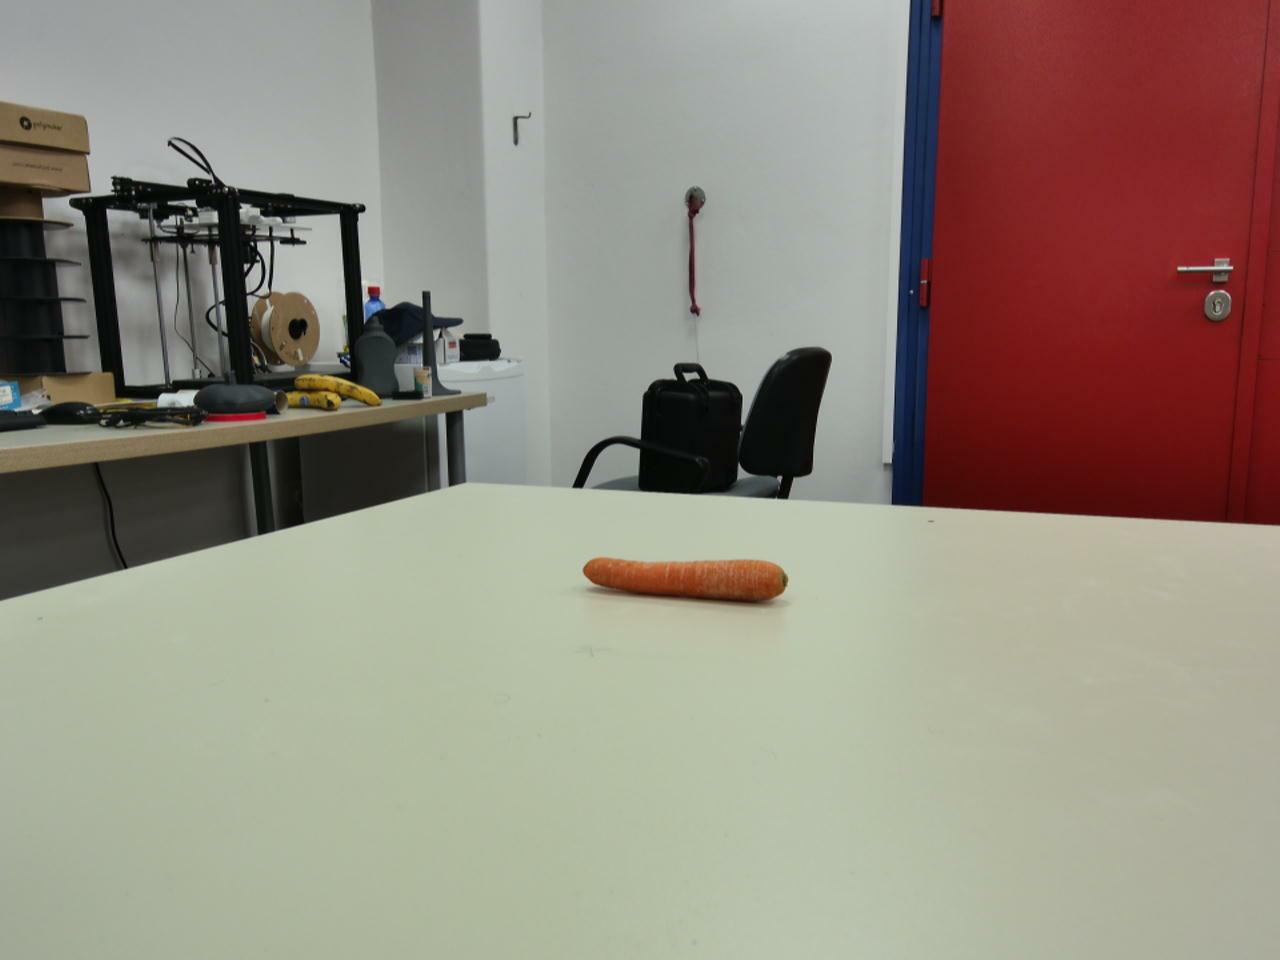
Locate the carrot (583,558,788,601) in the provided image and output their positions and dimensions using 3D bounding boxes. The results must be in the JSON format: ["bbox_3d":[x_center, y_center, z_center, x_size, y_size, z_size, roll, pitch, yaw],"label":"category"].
[{"bbox_3d":[0.024,0.055,0.578,0.122,0.023,0.024,3,7,21],"label":"carrot"}]
